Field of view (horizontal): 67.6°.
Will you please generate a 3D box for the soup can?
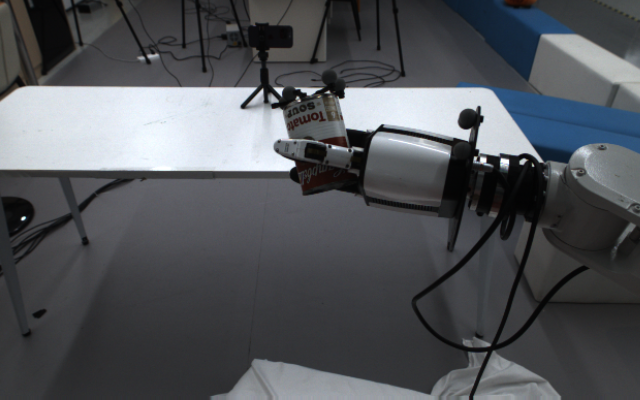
[{"bbox_3d":[0.002,-0.062,0.558,0.067,0.101,0.067,-14,-2,-1],"label":"soup can"}]
